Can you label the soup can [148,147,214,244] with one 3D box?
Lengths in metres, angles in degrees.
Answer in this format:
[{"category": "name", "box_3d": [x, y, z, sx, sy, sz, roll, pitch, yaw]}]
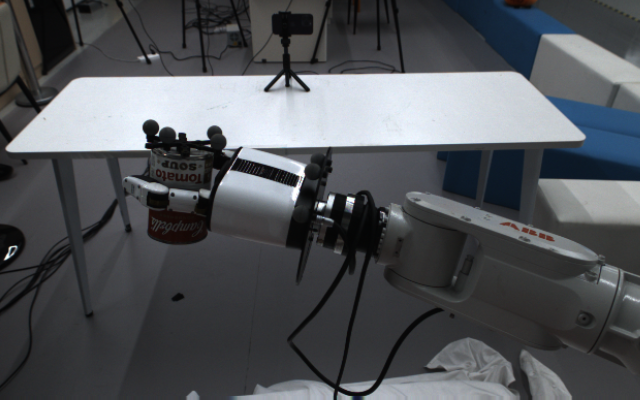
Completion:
[{"category": "soup can", "box_3d": [-0.156, -0.008, 0.544, 0.067, 0.101, 0.067, 8, 19, -3]}]
